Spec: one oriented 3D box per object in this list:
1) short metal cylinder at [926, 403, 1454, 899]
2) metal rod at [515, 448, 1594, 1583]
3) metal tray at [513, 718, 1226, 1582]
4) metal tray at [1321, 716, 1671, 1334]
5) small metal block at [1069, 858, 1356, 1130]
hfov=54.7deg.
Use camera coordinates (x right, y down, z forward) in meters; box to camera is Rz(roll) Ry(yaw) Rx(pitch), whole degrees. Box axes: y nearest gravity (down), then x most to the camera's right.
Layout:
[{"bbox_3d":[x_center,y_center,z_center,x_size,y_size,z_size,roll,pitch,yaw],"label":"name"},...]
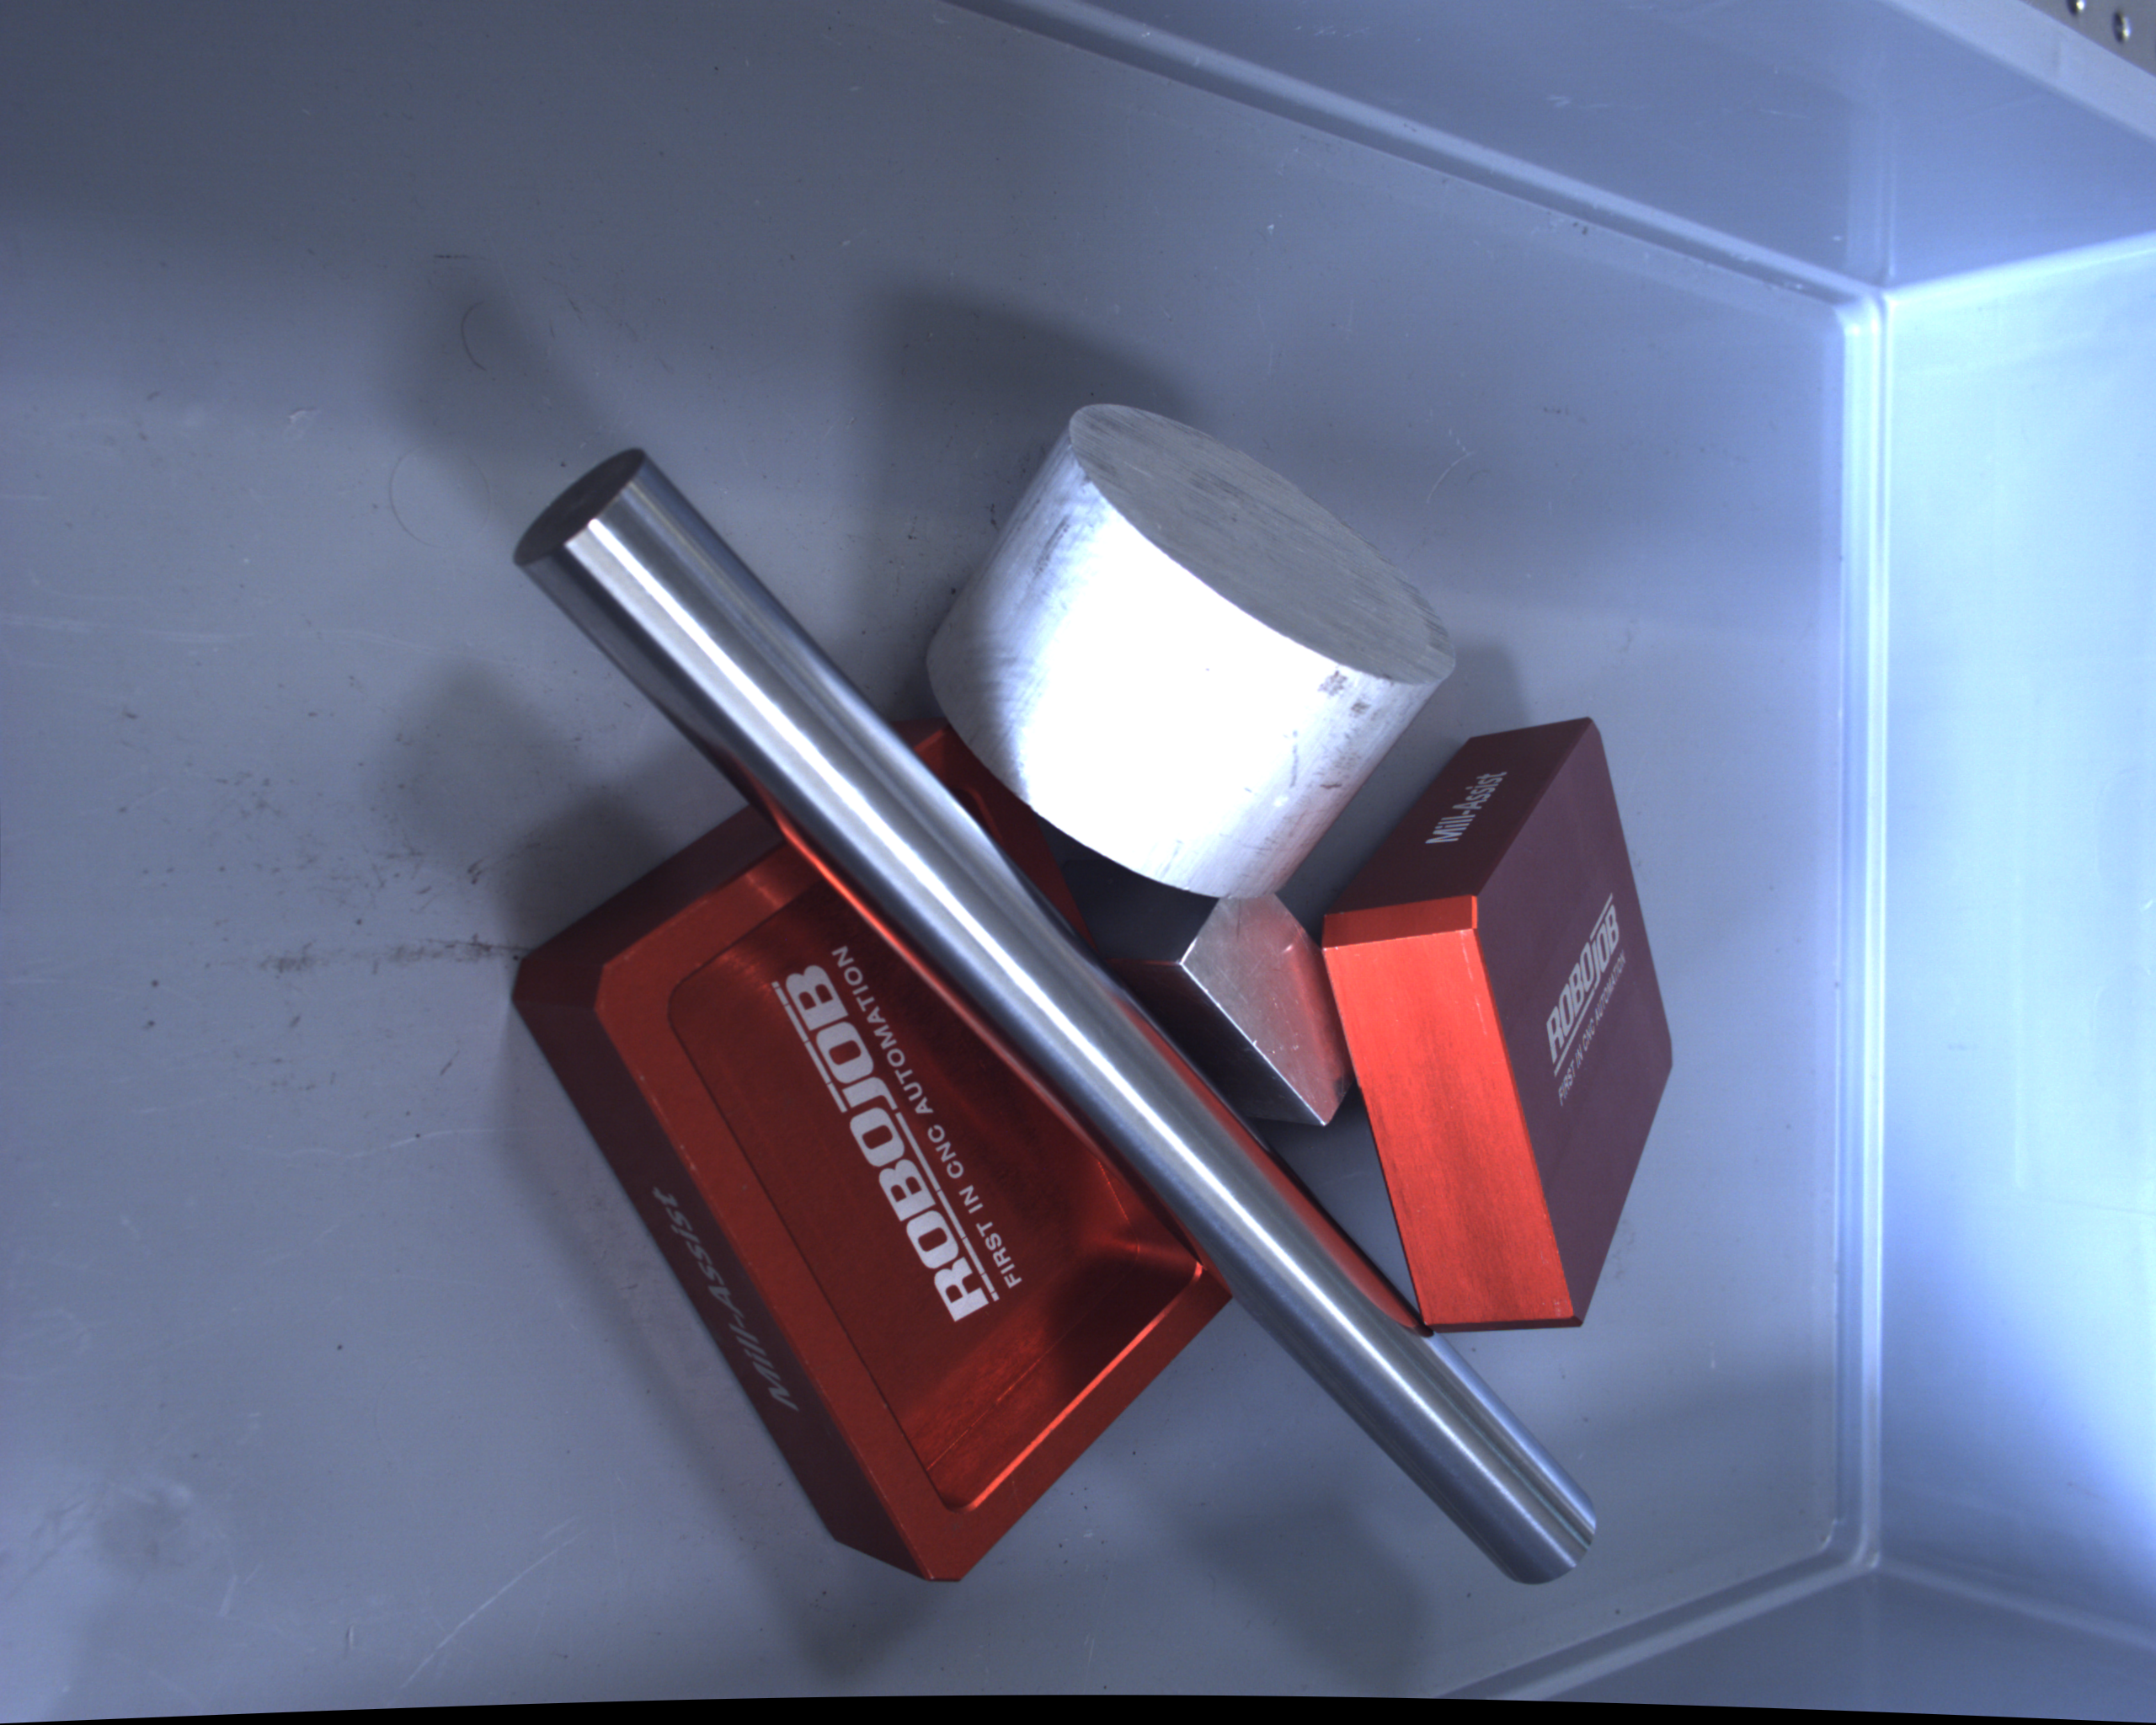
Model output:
[{"bbox_3d":[0.020,-0.039,0.378,0.081,0.080,0.050,10,125,-40],"label":"short metal cylinder"},{"bbox_3d":[0.014,0.046,0.377,0.300,0.025,0.025,49,61,-29],"label":"metal rod"},{"bbox_3d":[-0.030,0.050,0.376,0.091,0.030,0.129,-39,114,-33],"label":"metal tray"},{"bbox_3d":[0.095,0.030,0.448,0.131,0.030,0.089,-40,117,-59],"label":"metal tray"},{"bbox_3d":[0.023,0.025,0.407,0.050,0.050,0.025,48,61,-30],"label":"small metal block"}]
